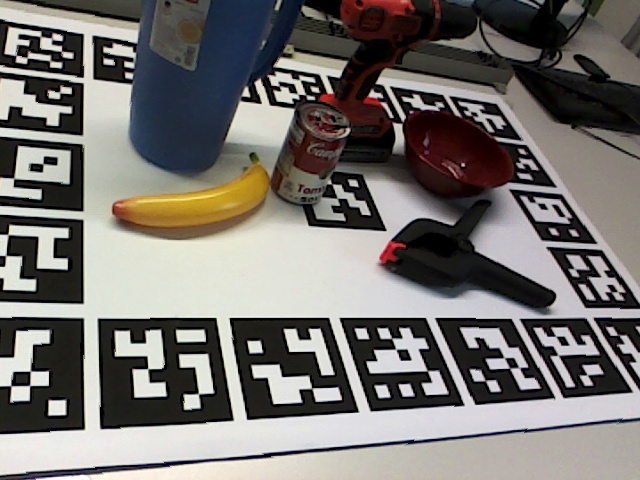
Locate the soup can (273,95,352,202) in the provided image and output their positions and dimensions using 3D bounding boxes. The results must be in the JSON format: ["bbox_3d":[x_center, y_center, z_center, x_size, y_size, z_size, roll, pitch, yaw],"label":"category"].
[{"bbox_3d":[-0.011,-0.104,0.708,0.068,0.102,0.068,13,36,-10],"label":"soup can"}]

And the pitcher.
[{"bbox_3d":[-0.113,-0.201,0.650,0.188,0.242,0.134,-21,56,-39],"label":"pitcher"}]

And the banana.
[{"bbox_3d":[-0.121,-0.048,0.648,0.196,0.039,0.075,-22,51,-41],"label":"banana"}]

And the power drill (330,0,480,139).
[{"bbox_3d":[0.091,-0.214,0.775,0.183,0.187,0.057,-2,49,-28],"label":"power drill"}]

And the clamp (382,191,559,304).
[{"bbox_3d":[0.164,0.006,0.718,0.202,0.037,0.166,0,52,-26],"label":"clamp"}]

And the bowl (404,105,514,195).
[{"bbox_3d":[0.178,-0.112,0.839,0.161,0.055,0.162,13,45,-14],"label":"bowl"}]
